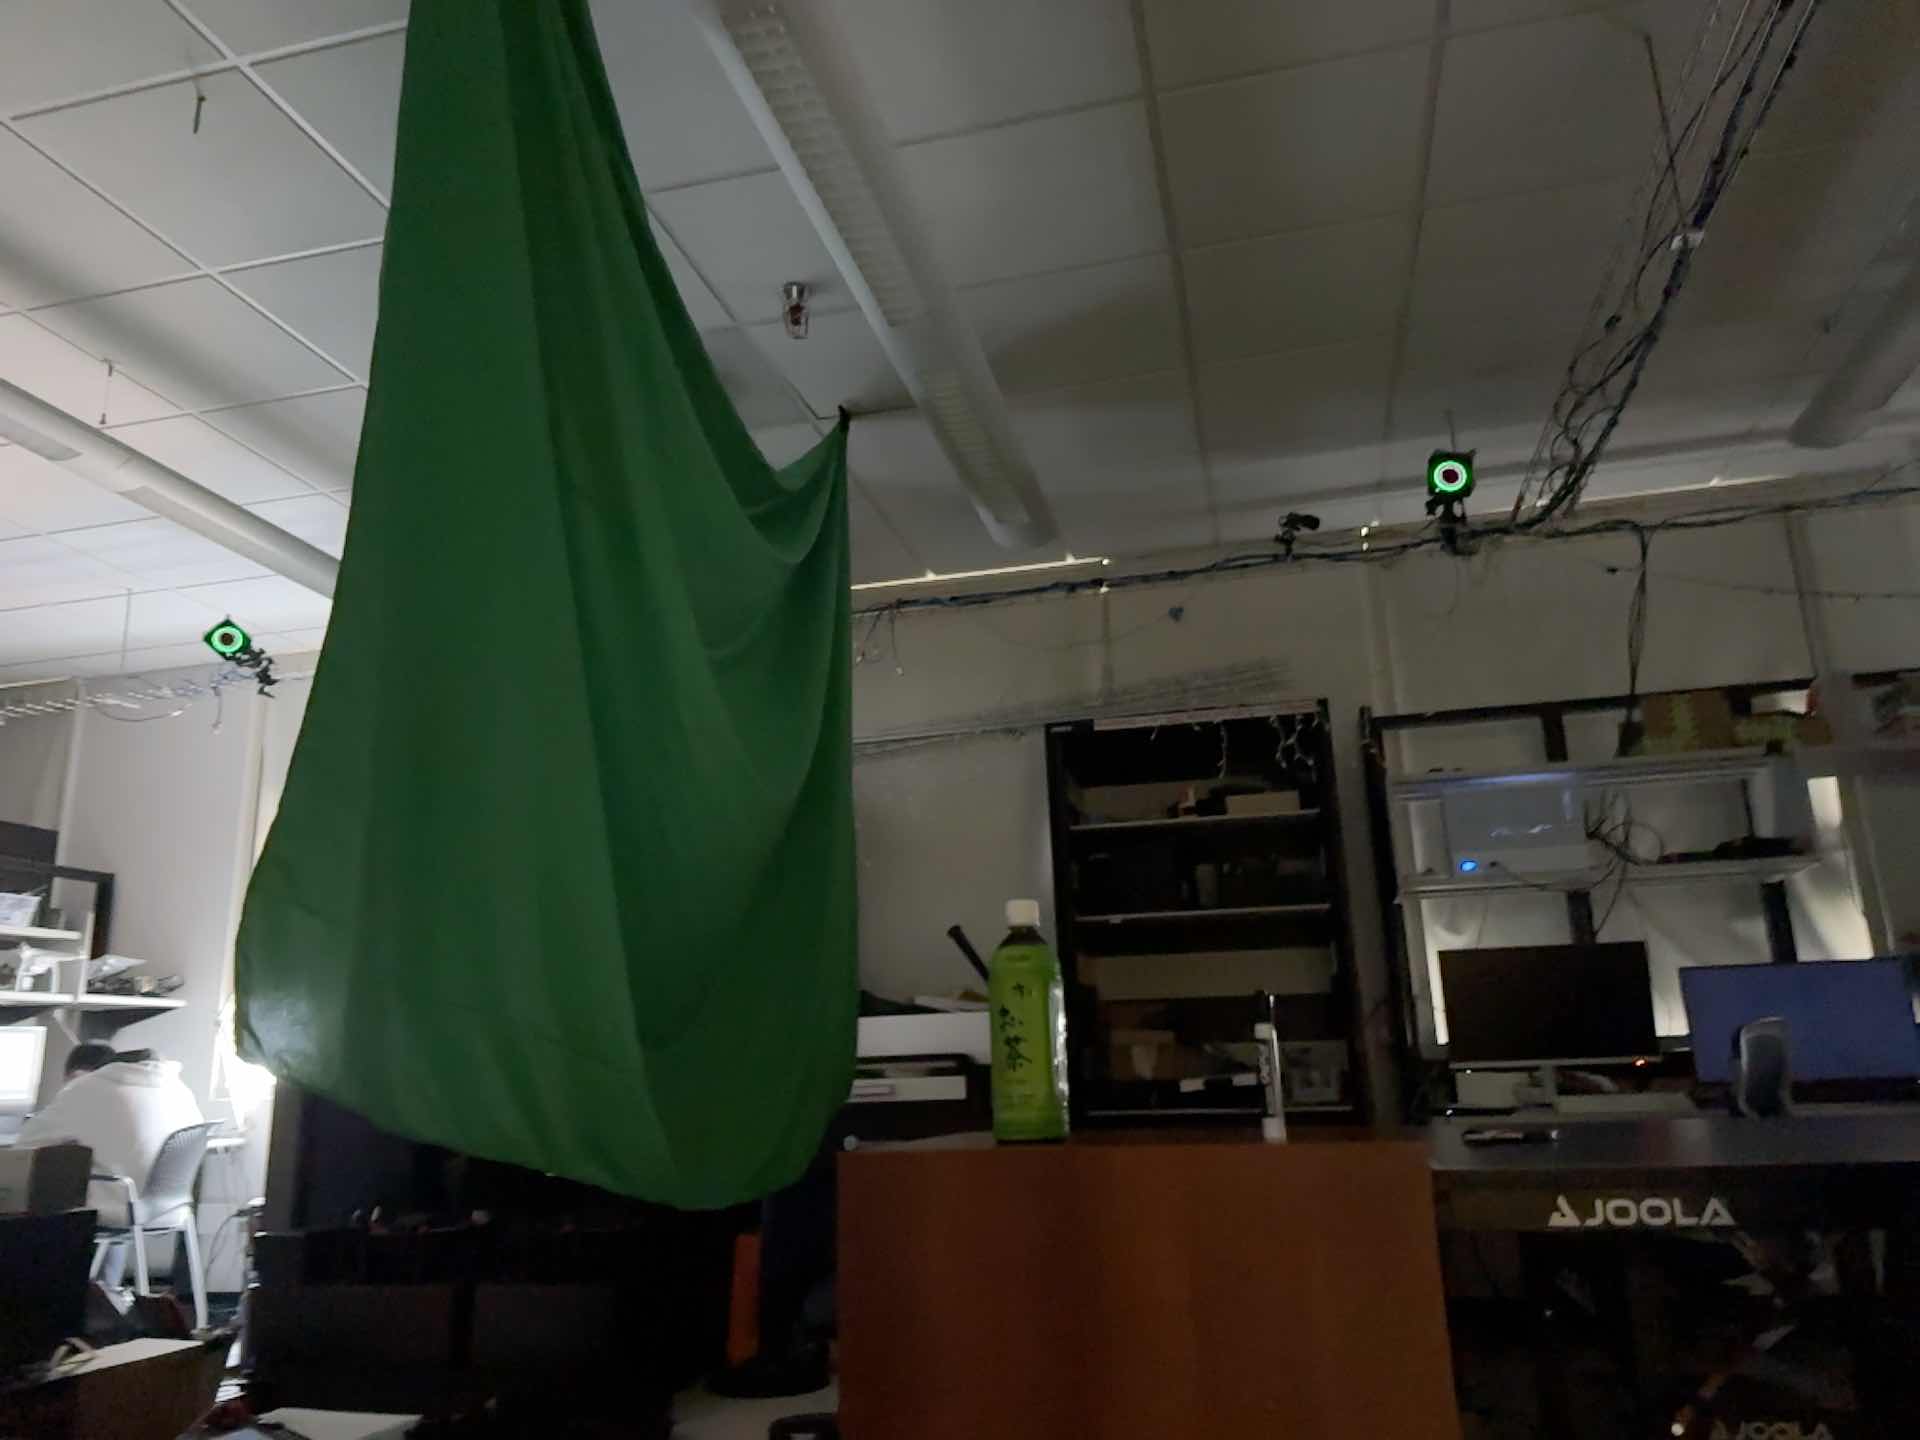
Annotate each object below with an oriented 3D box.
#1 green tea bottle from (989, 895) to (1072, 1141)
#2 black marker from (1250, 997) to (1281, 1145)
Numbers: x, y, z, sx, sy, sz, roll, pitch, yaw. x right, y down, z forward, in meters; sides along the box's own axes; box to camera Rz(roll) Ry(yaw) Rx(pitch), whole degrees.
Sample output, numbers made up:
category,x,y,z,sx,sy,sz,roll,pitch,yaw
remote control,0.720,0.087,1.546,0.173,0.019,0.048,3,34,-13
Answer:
category,x,y,z,sx,sy,sz,roll,pitch,yaw
green tea bottle,0.059,0.263,1.196,0.073,0.212,0.073,-3,-16,-1
black marker,0.261,0.299,1.149,0.020,0.121,0.020,0,-13,0
